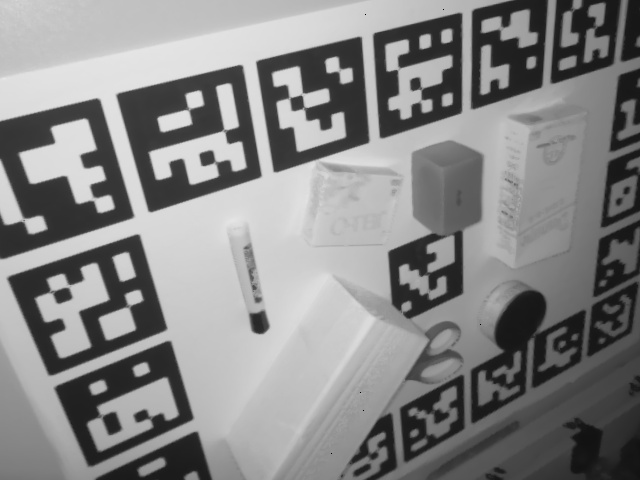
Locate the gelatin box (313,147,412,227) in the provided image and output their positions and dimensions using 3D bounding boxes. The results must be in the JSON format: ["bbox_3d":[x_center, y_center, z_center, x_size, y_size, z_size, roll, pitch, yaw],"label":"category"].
[{"bbox_3d":[0.042,-0.051,0.676,0.091,0.030,0.073,-2,111,-28],"label":"gelatin box"}]

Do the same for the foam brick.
[{"bbox_3d":[0.143,-0.073,0.705,0.053,0.051,0.077,-19,118,-21],"label":"foam brick"}]

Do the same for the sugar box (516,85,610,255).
[{"bbox_3d":[0.273,-0.078,0.785,0.094,0.045,0.175,-16,118,-21],"label":"sugar box"}]

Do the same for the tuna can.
[{"bbox_3d":[0.275,0.077,0.855,0.087,0.033,0.085,-12,116,-24],"label":"tuna can"}]

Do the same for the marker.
[{"bbox_3d":[-0.050,0.018,0.660,0.020,0.019,0.120,-19,117,-20],"label":"marker"}]

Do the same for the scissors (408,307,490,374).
[{"bbox_3d":[0.117,0.137,0.808,0.206,0.016,0.087,-14,117,-25],"label":"scissors"}]

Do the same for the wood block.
[{"bbox_3d":[0.017,0.134,0.711,0.091,0.090,0.205,27,98,-35],"label":"wood block"}]
